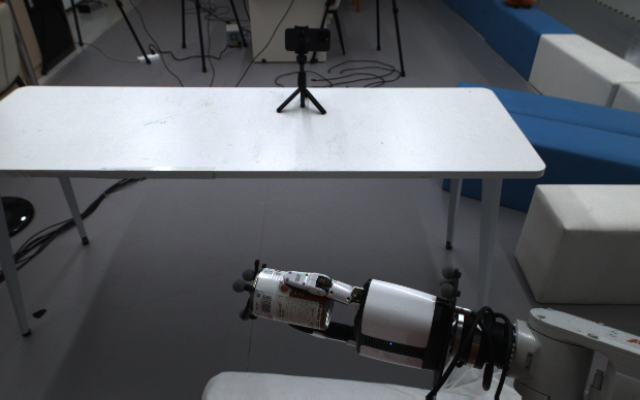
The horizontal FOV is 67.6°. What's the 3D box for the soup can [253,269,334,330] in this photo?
[{"bbox_3d":[-0.032,0.132,0.647,0.101,0.067,0.067,9,35,9],"label":"soup can"}]
